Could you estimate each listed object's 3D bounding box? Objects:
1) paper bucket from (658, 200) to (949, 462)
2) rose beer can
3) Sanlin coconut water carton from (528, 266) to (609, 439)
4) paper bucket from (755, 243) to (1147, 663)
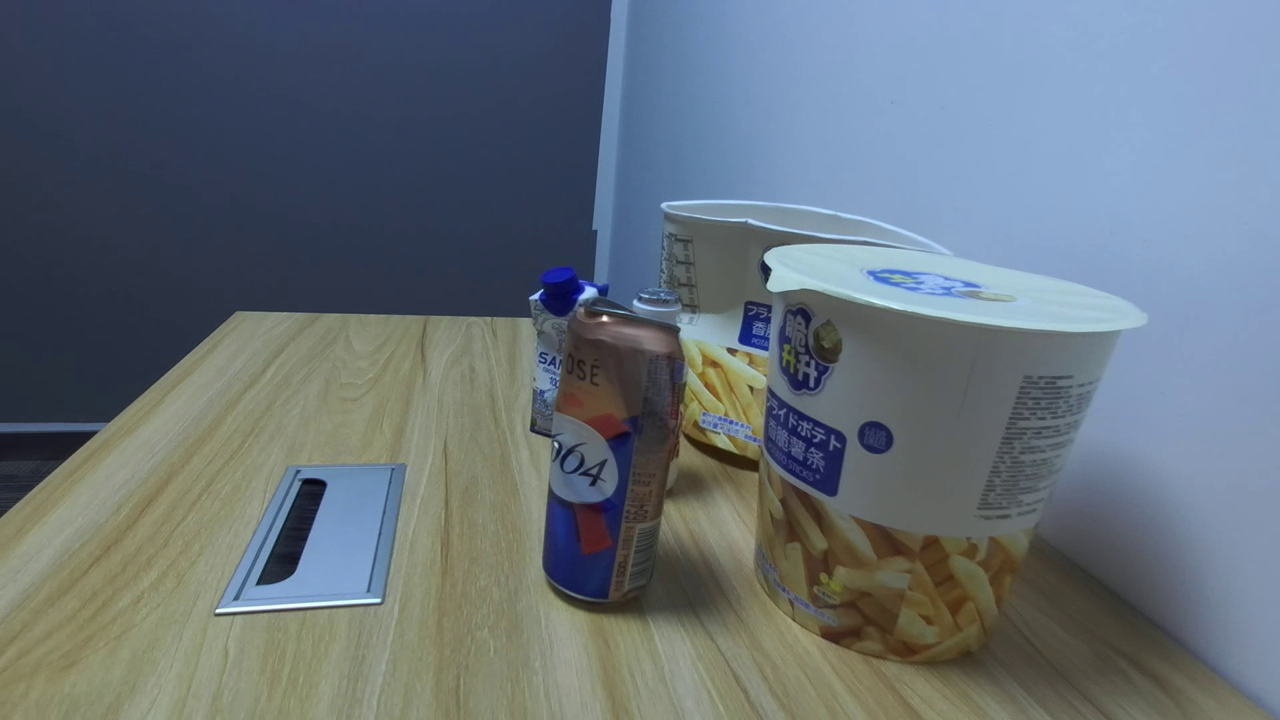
[{"bbox_3d":[0.118,-0.024,0.593,0.218,0.199,0.147,5,21,-1],"label":"paper bucket"},{"bbox_3d":[-0.017,0.051,0.395,0.069,0.168,0.070,9,17,5],"label":"rose beer can"},{"bbox_3d":[-0.059,-0.008,0.592,0.060,0.143,0.070,11,19,20],"label":"Sanlin coconut water carton"},{"bbox_3d":[0.153,0.047,0.410,0.198,0.194,0.198,5,19,-1],"label":"paper bucket"}]
